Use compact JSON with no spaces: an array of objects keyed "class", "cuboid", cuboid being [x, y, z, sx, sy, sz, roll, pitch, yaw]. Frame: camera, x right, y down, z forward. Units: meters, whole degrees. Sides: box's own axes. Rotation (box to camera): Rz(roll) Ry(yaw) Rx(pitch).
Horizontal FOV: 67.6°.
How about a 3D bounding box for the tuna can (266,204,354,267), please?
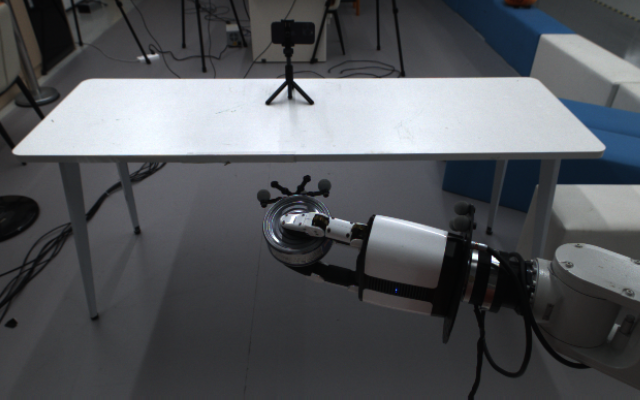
[{"class":"tuna can","cuboid":[-0.022,0.043,0.591,0.085,0.034,0.085,-3,60,5]}]
